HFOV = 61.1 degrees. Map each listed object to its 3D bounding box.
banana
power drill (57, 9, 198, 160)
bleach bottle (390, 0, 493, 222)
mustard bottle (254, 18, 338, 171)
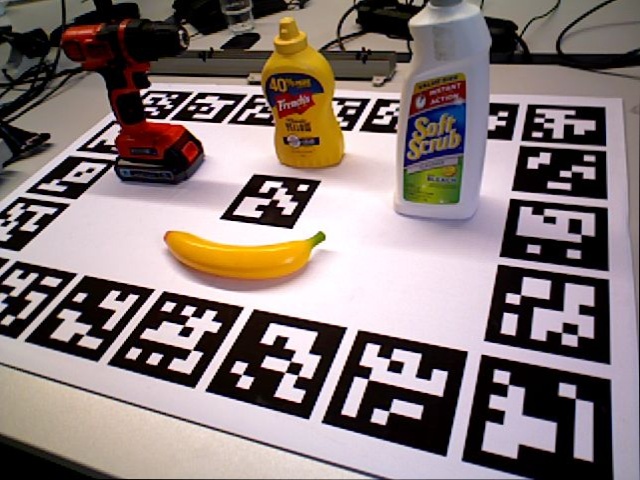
[{"bbox_3d":[-0.100,0.007,0.595,0.198,0.039,0.072,2,45,20],"label":"banana"},{"bbox_3d":[-0.227,-0.198,0.706,0.185,0.190,0.056,2,43,20],"label":"power drill"},{"bbox_3d":[0.118,-0.138,0.554,0.103,0.255,0.066,15,47,26],"label":"bleach bottle"},{"bbox_3d":[-0.032,-0.181,0.687,0.096,0.195,0.057,4,43,14],"label":"mustard bottle"}]
